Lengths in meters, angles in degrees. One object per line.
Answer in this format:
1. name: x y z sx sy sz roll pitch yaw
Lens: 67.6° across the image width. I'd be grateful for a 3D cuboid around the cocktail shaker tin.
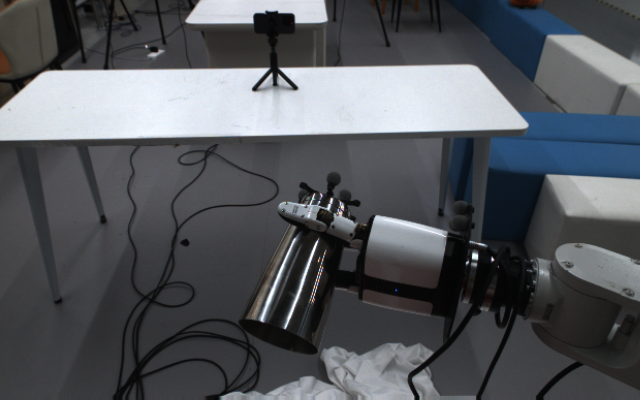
1. cocktail shaker tin: -0.018 0.076 0.562 0.093 0.093 0.170 13 59 15
